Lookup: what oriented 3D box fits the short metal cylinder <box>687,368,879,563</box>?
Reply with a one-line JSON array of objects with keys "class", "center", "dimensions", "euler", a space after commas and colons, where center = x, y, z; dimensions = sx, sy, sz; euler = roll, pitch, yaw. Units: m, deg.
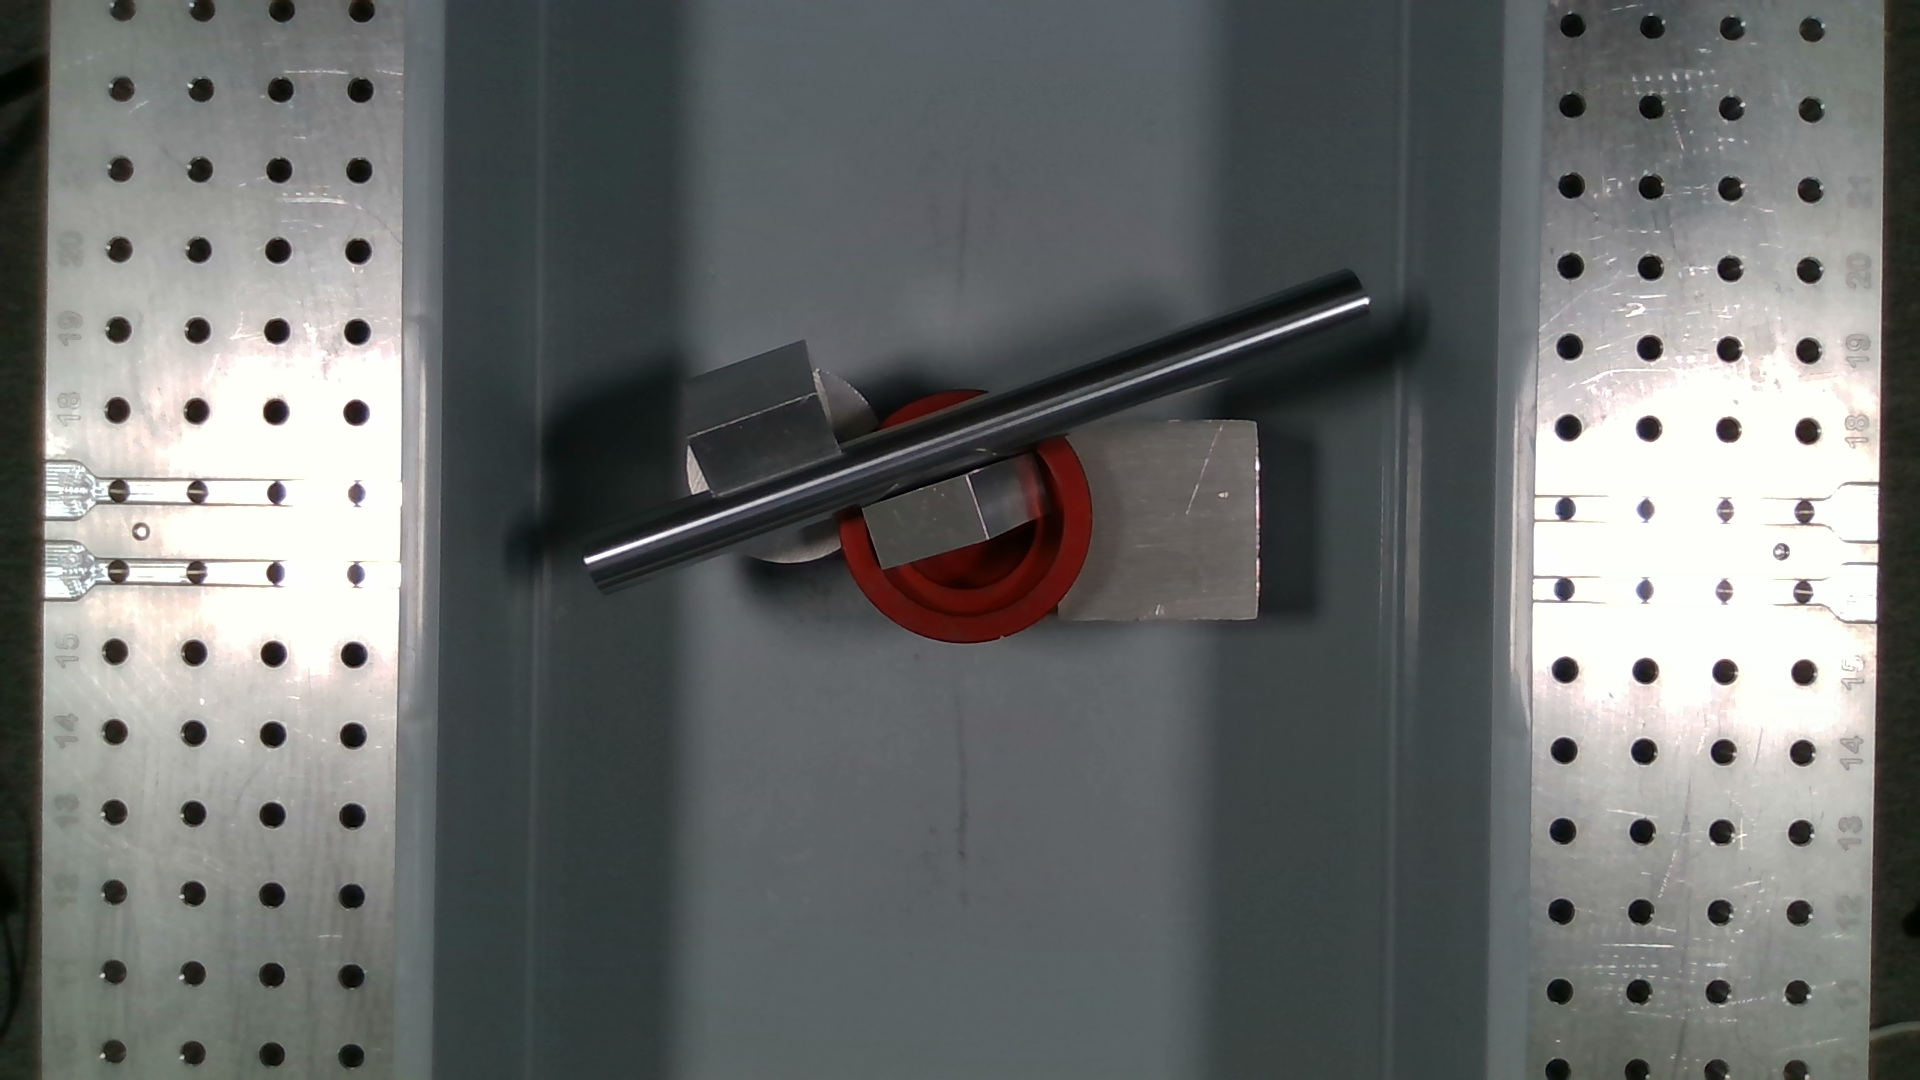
[{"class": "short metal cylinder", "center": [-0.069, -0.031, 0.574], "dimensions": [0.080, 0.050, 0.080], "euler": [0, 90, 0]}]

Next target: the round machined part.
[{"class": "round machined part", "center": [0.002, -0.009, 0.548], "dimensions": [0.098, 0.042, 0.098], "euler": [0, 90, 0]}]

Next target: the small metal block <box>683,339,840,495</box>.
[{"class": "small metal block", "center": [-0.076, -0.047, 0.521], "dimensions": [0.050, 0.050, 0.025], "euler": [-19, 123, -1]}]

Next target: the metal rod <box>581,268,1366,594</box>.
[{"class": "metal rod", "center": [0.005, -0.041, 0.516], "dimensions": [0.300, 0.025, 0.025], "euler": [-19, 90, 0]}]

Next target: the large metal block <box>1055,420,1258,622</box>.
[{"class": "large metal block", "center": [0.078, -0.008, 0.572], "dimensions": [0.080, 0.050, 0.080], "euler": [0, 90, 0]}]

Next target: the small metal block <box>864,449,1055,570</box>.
[{"class": "small metal block", "center": [0.000, -0.012, 0.525], "dimensions": [0.050, 0.050, 0.025], "euler": [-16, 94, 35]}]
